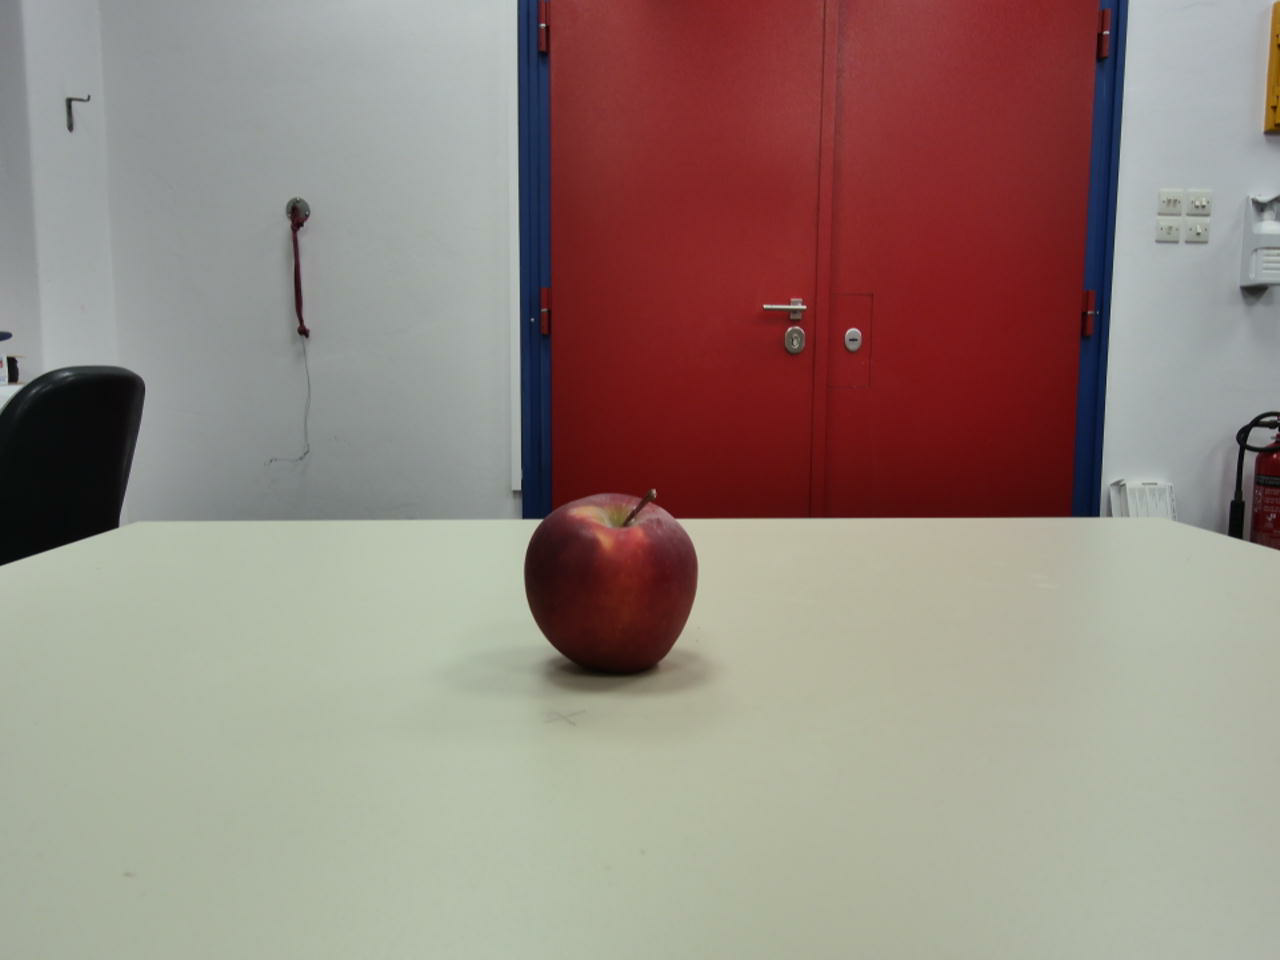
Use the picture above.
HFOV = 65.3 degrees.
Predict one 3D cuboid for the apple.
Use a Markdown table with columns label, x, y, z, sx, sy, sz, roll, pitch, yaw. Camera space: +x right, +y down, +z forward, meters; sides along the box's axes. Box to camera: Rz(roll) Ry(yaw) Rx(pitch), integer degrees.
| label | x | y | z | sx | sy | sz | roll | pitch | yaw |
| --- | --- | --- | --- | --- | --- | --- | --- | --- | --- |
| apple | -0.011 | 0.039 | 0.404 | 0.070 | 0.072 | 0.070 | -1 | 4 | 0 |
